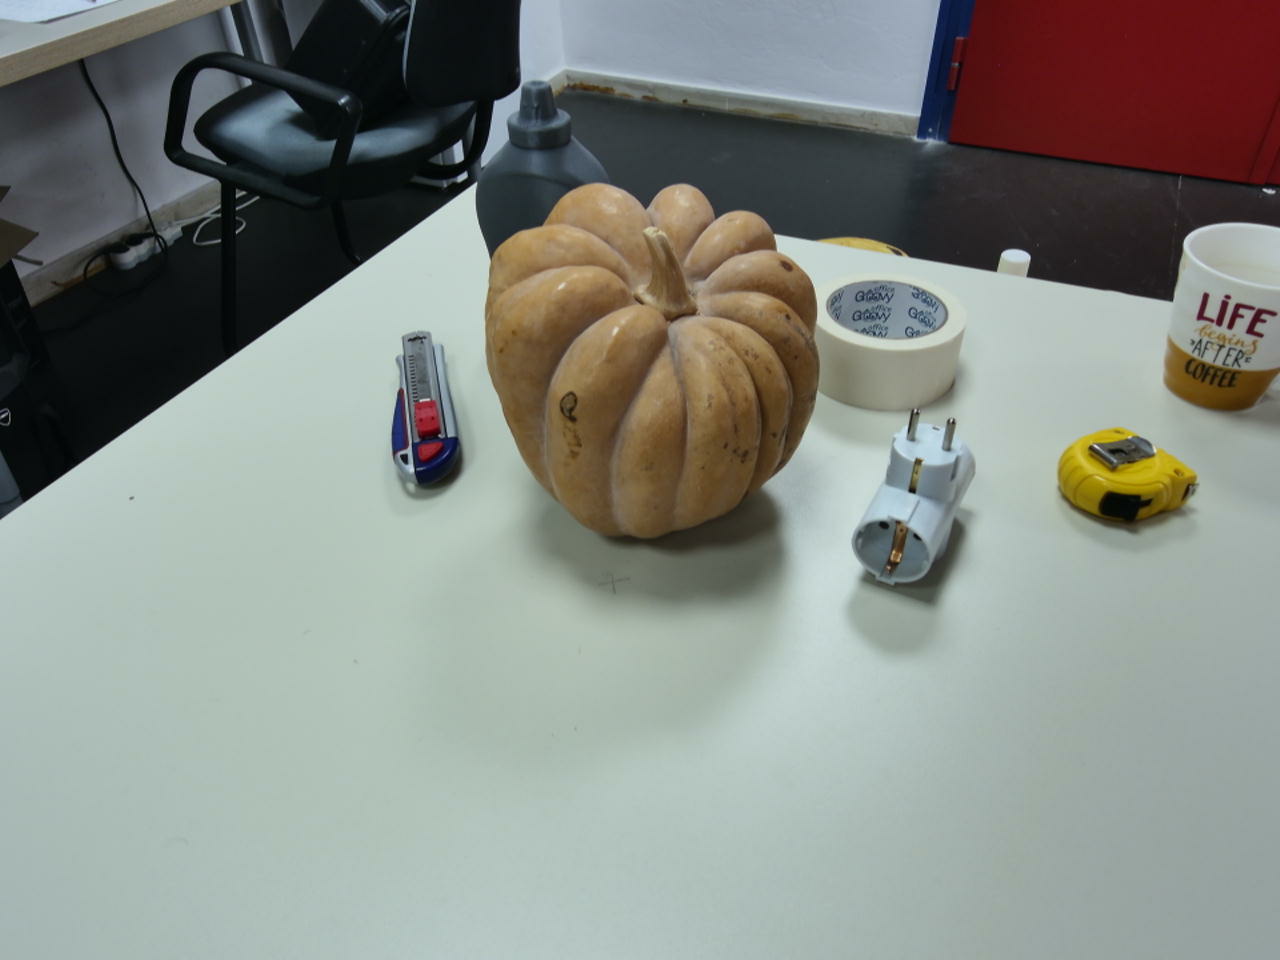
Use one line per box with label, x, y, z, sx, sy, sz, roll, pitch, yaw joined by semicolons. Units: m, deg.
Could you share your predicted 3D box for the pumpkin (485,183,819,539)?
pumpkin;0.005;-0.066;0.568;0.199;0.177;0.198;0;38;0
